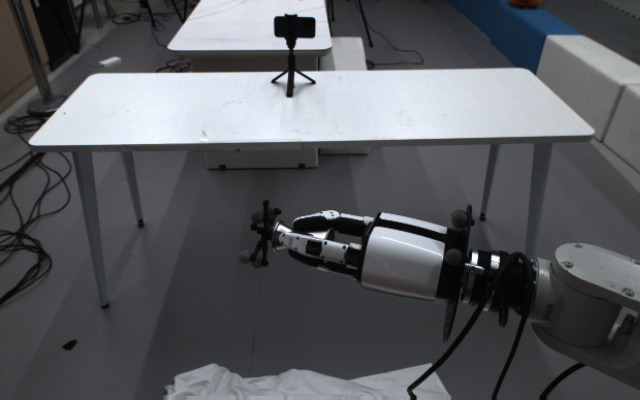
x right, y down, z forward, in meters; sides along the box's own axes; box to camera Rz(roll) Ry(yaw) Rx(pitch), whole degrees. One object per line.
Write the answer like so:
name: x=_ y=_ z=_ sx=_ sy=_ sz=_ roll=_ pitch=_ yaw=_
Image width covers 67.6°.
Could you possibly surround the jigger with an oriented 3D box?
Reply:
jigger: x=-0.014 y=0.046 z=0.594 sx=0.071 sy=0.043 sz=0.043 roll=8 pitch=35 yaw=16
